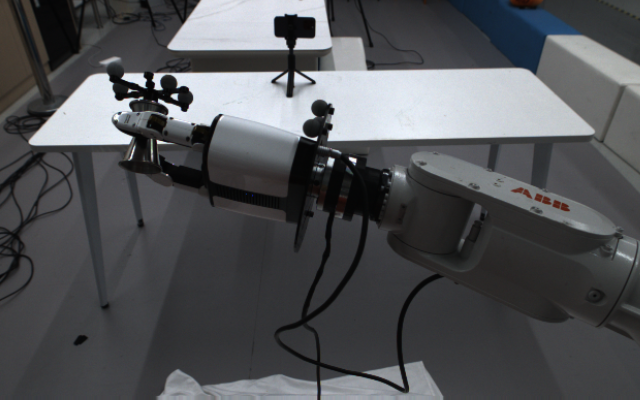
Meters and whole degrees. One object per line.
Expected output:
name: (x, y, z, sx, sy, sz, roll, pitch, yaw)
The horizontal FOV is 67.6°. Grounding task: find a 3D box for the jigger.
jigger: (-0.185, -0.066, 0.511, 0.043, 0.043, 0.071, 3, 76, 1)
